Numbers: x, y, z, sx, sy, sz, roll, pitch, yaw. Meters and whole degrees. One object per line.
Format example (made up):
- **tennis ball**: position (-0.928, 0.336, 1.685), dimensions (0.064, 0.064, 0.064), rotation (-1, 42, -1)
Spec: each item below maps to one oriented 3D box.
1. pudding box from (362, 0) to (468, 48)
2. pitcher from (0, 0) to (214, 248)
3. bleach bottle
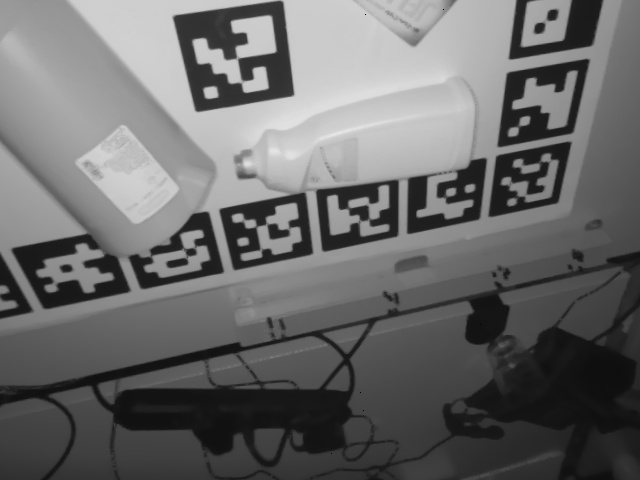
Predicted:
- **pudding box**: position (0.081, -0.242, 0.625), dimensions (0.115, 0.039, 0.089), rotation (29, 122, -31)
- **pitcher**: position (-0.222, -0.116, 0.612), dimensions (0.186, 0.135, 0.243), rotation (-6, 135, 36)
- **bleach bottle**: position (0.038, -0.096, 0.725), dimensions (0.251, 0.068, 0.102), rotation (-12, 127, -3)
